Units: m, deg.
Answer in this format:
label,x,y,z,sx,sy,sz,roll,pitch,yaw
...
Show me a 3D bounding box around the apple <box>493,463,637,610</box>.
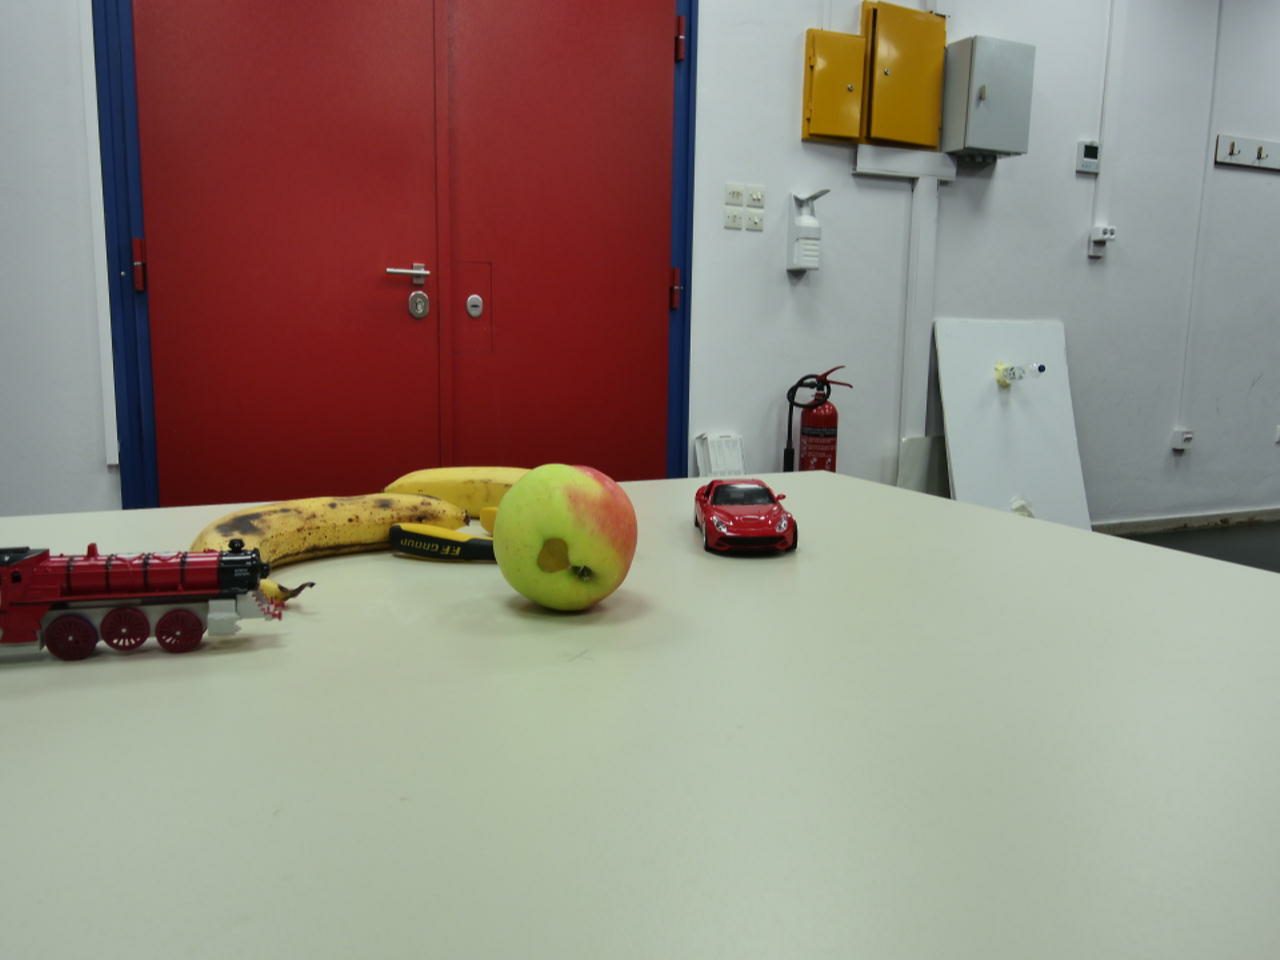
label,x,y,z,sx,sy,sz,roll,pitch,yaw
apple,-0.038,0.029,0.520,0.075,0.074,0.075,-6,9,-44
